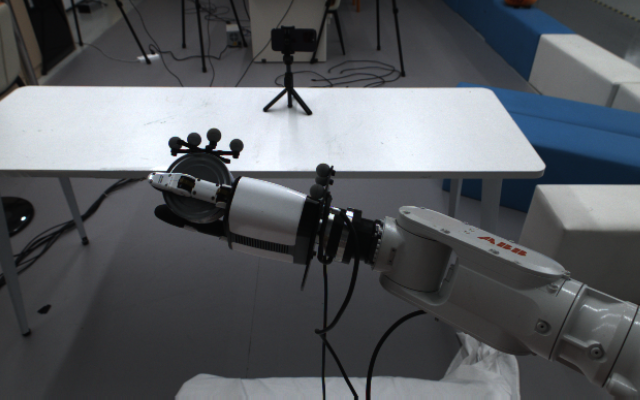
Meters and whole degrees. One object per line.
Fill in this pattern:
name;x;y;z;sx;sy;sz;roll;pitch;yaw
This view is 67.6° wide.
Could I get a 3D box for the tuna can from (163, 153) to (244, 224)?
tuna can;-0.149;-0.013;0.606;0.085;0.034;0.085;-1;76;3
